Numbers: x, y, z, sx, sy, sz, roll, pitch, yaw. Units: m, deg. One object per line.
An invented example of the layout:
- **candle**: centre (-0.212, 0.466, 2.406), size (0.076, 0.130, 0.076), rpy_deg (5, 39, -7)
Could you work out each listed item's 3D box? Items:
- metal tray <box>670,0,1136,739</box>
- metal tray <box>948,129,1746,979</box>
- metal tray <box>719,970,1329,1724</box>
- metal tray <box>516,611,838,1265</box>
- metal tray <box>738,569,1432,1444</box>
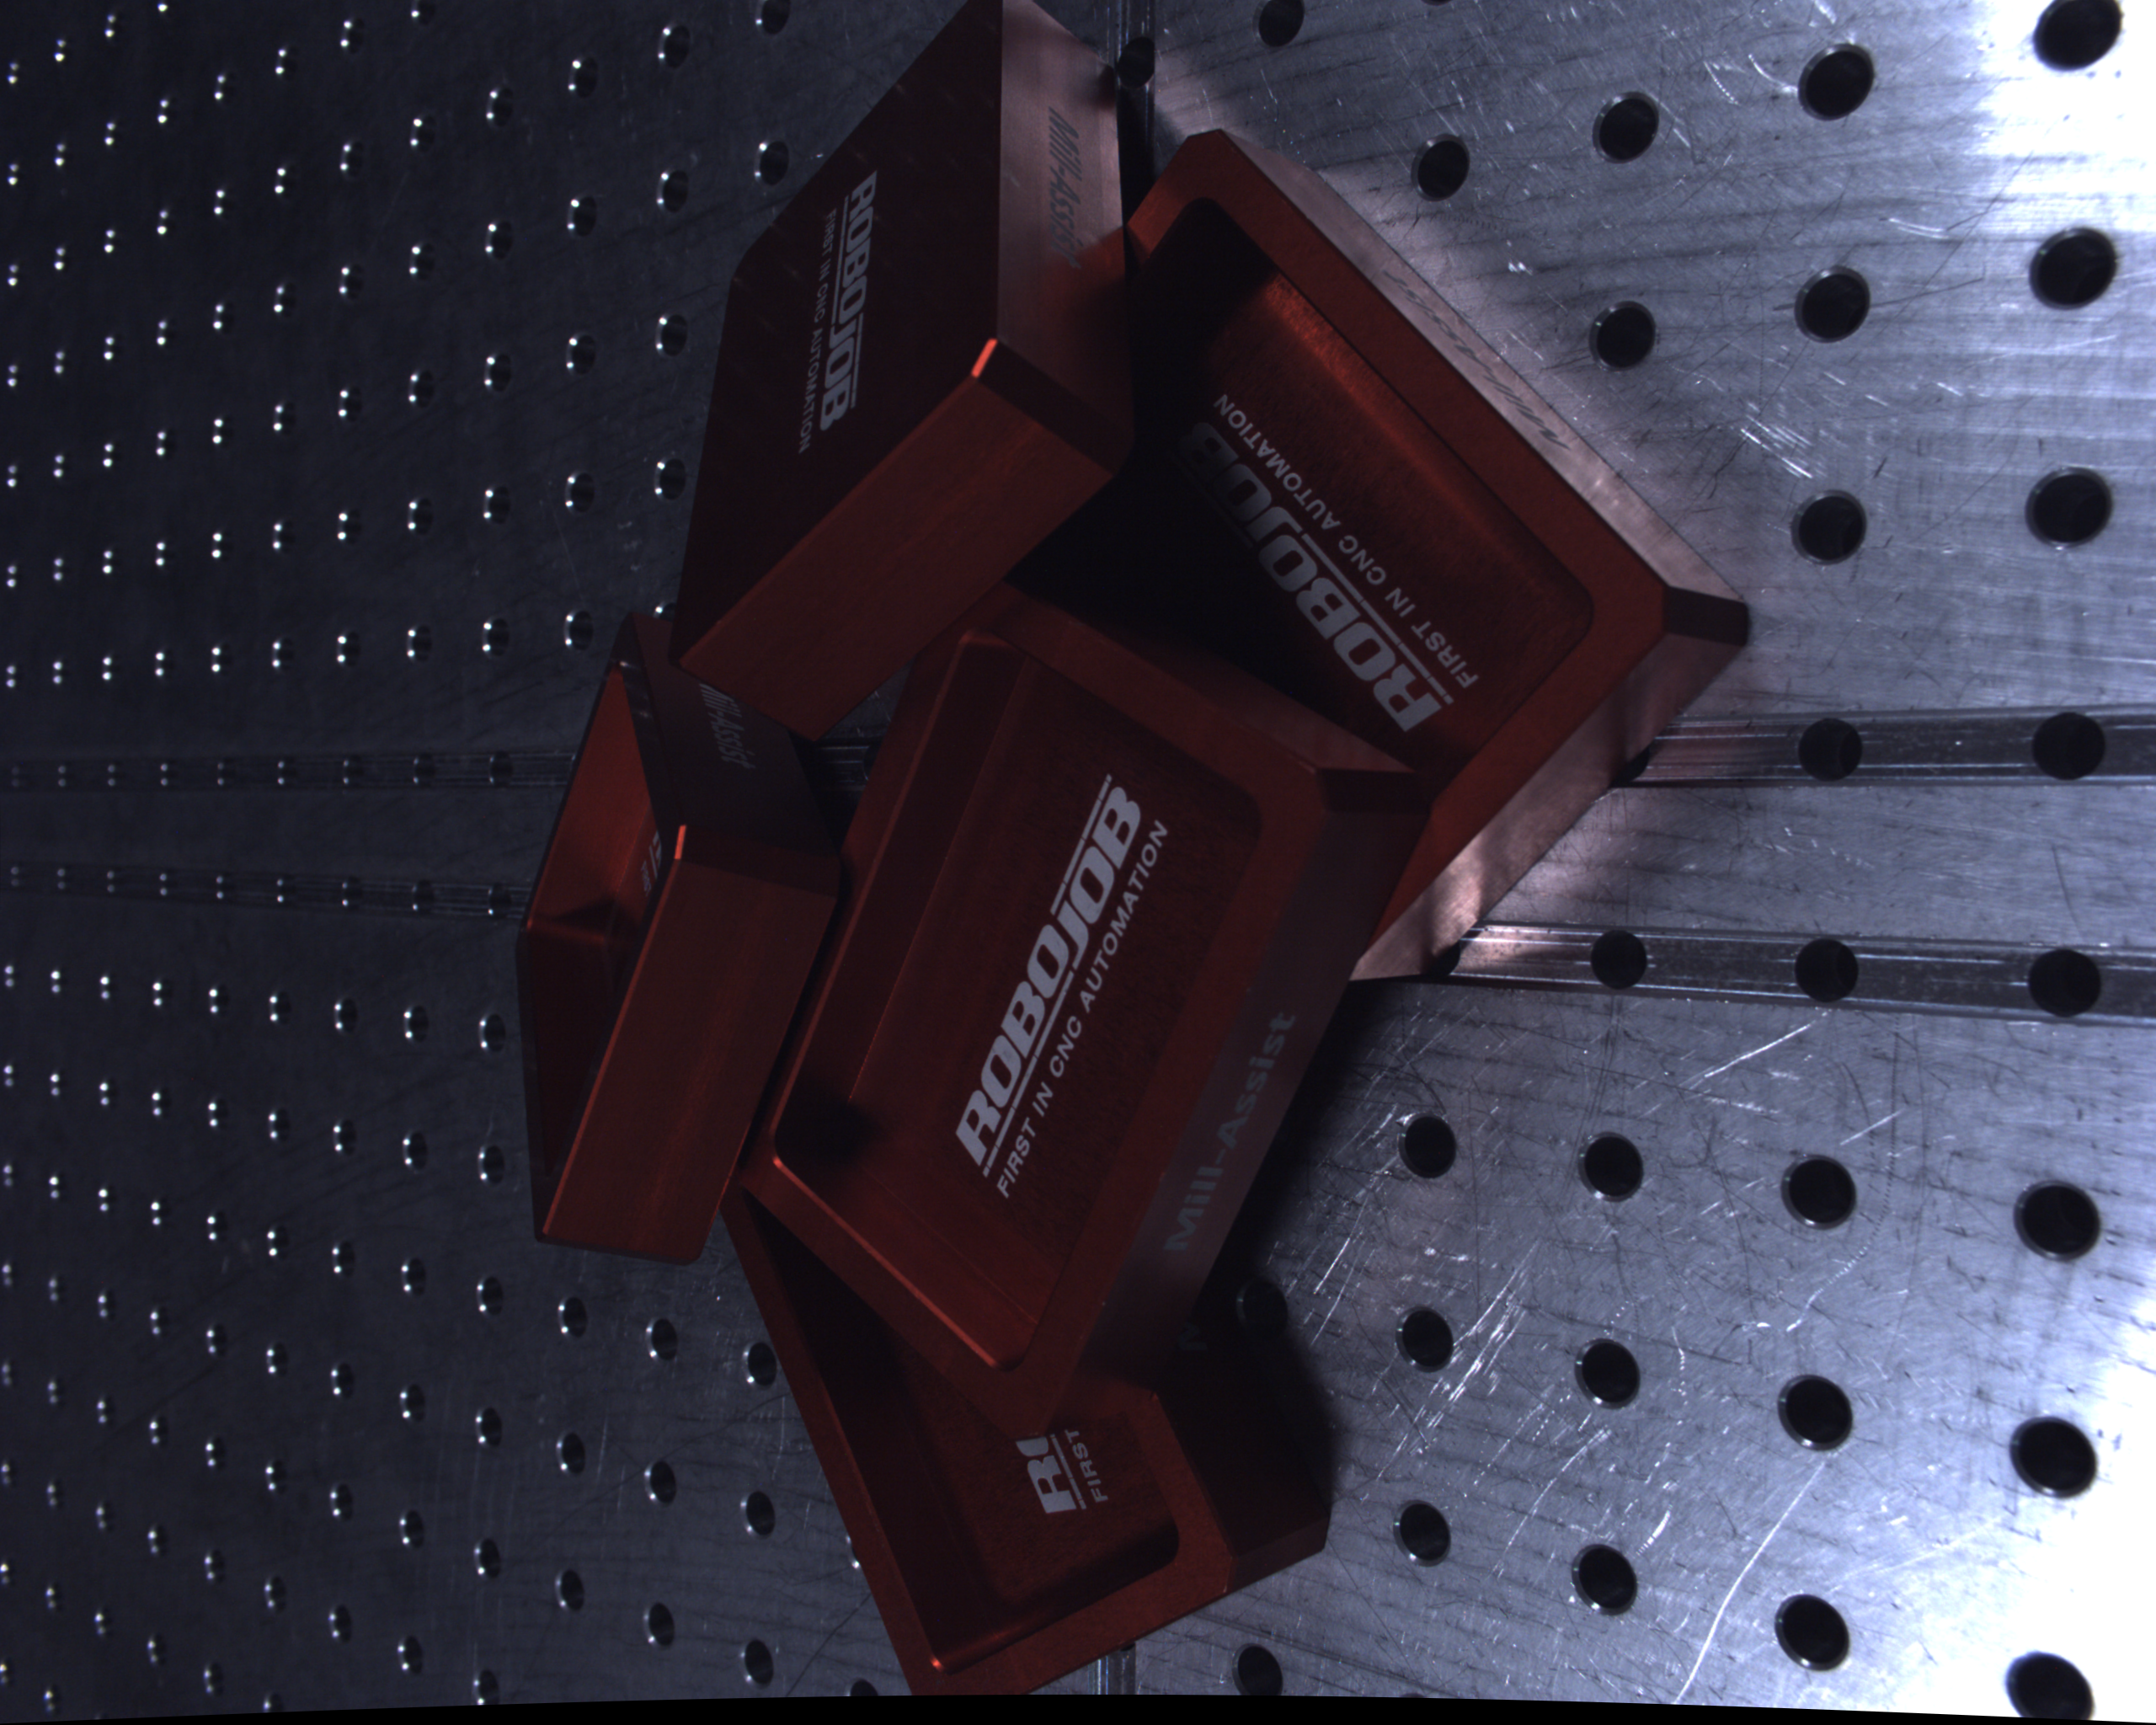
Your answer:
- **metal tray**: centre (-0.032, -0.097, 0.391), size (0.090, 0.030, 0.130), rpy_deg (-37, 37, 33)
- **metal tray**: centre (0.041, -0.054, 0.370), size (0.090, 0.030, 0.130), rpy_deg (-51, 61, 27)
- **metal tray**: centre (-0.017, 0.094, 0.418), size (0.090, 0.030, 0.130), rpy_deg (-40, 66, 32)
- **metal tray**: centre (-0.089, 0.011, 0.437), size (0.089, 0.030, 0.130), rpy_deg (-67, 24, 18)
- **metal tray**: centre (-0.005, 0.023, 0.369), size (0.090, 0.030, 0.129), rpy_deg (35, 111, 34)
